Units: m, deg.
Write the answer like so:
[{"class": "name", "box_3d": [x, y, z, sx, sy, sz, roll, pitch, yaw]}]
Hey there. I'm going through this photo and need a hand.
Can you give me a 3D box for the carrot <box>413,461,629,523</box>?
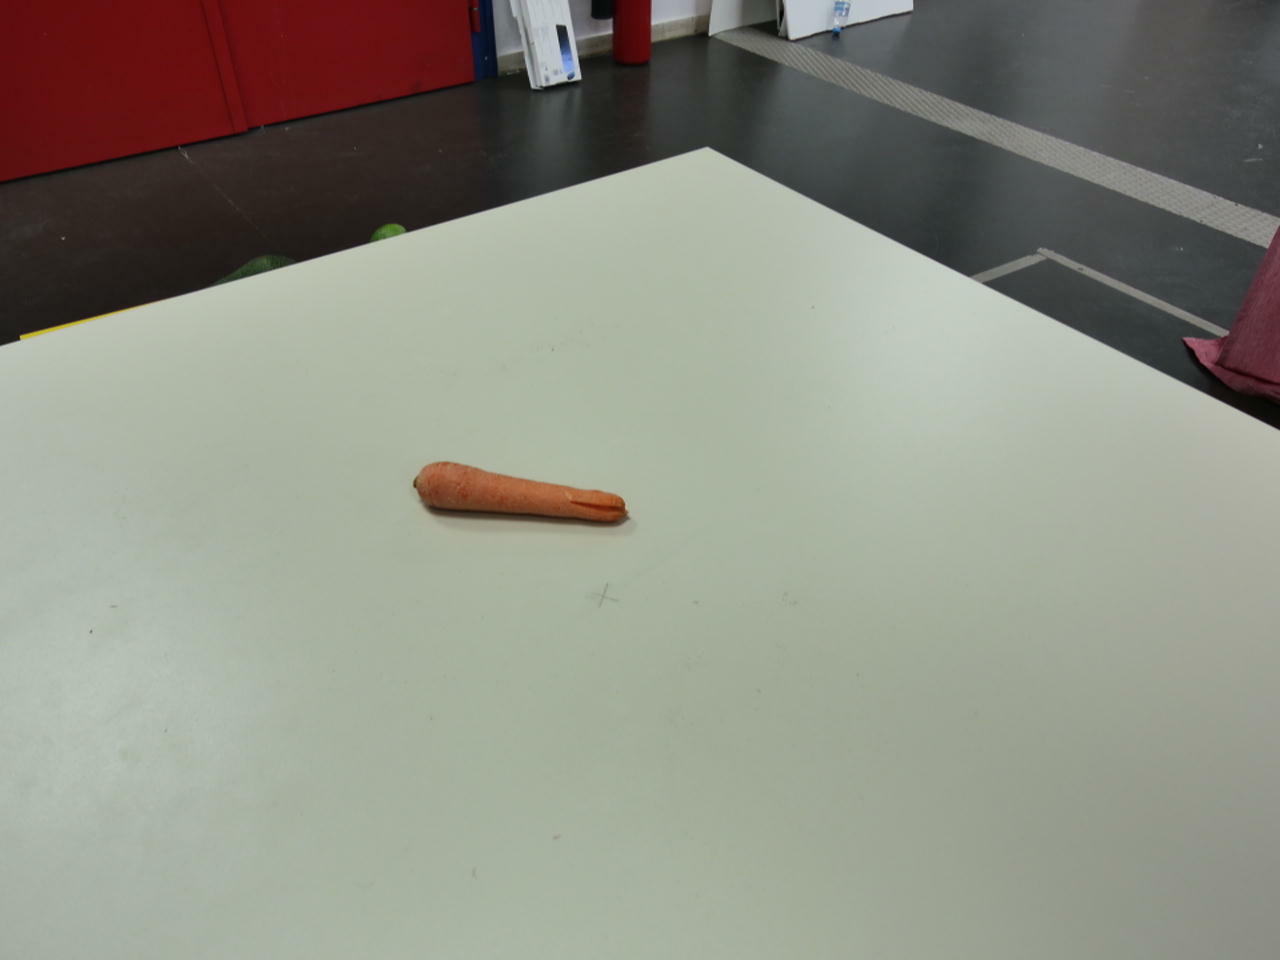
[{"class": "carrot", "box_3d": [-0.075, 0.008, 0.621, 0.136, 0.032, 0.030, 5, 38, 7]}]
